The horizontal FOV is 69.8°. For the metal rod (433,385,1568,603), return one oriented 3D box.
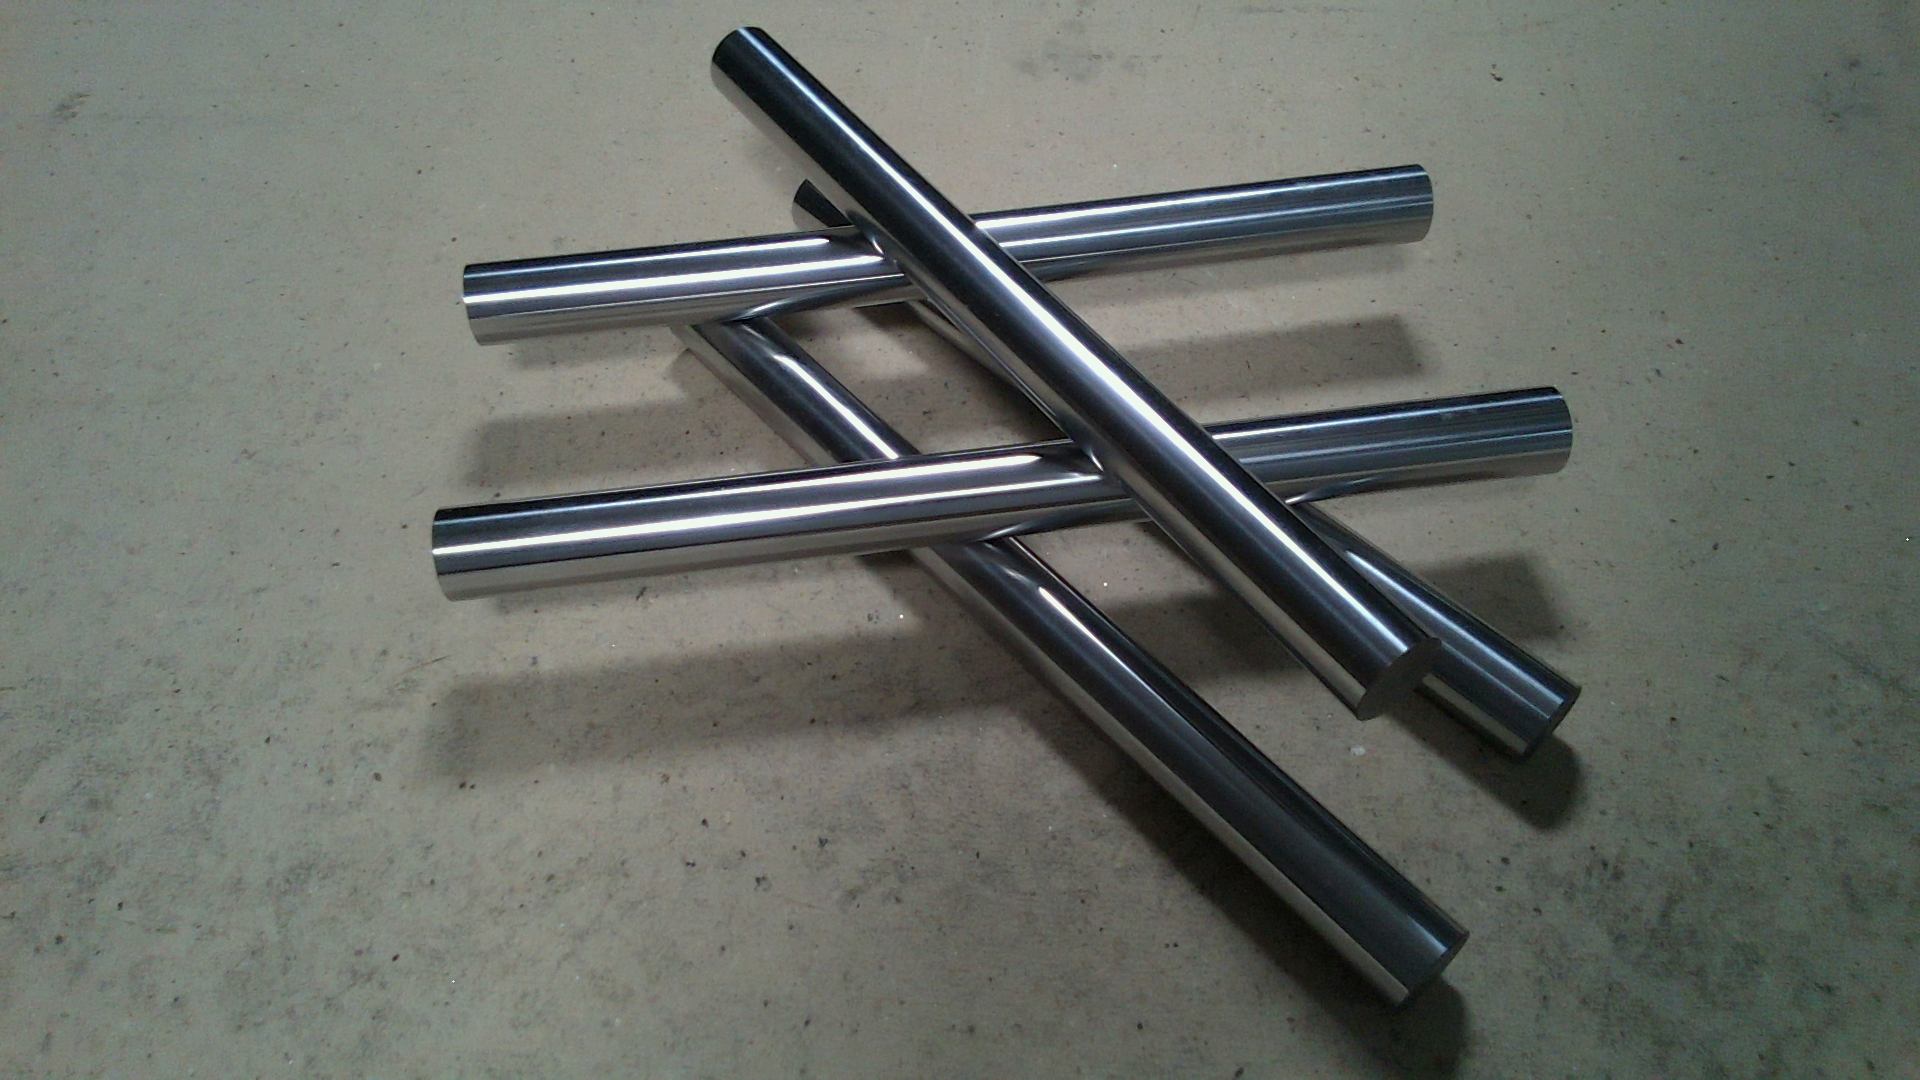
[{"bbox_3d":[0.016,-0.014,0.371,0.300,0.025,0.025,-7,50,-6],"label":"metal rod"}]

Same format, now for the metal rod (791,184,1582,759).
[{"bbox_3d":[0.050,-0.038,0.423,0.025,0.025,0.299,-35,58,-26],"label":"metal rod"}]

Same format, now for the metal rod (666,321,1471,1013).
[{"bbox_3d":[0.010,0.010,0.382,0.025,0.025,0.299,-33,57,-25],"label":"metal rod"}]

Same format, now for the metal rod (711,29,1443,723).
[{"bbox_3d":[0.012,-0.064,0.381,0.025,0.025,0.299,-28,55,-21],"label":"metal rod"}]

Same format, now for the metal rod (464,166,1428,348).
[{"bbox_3d":[0.000,-0.091,0.436,0.300,0.025,0.025,-8,50,-6],"label":"metal rod"}]
